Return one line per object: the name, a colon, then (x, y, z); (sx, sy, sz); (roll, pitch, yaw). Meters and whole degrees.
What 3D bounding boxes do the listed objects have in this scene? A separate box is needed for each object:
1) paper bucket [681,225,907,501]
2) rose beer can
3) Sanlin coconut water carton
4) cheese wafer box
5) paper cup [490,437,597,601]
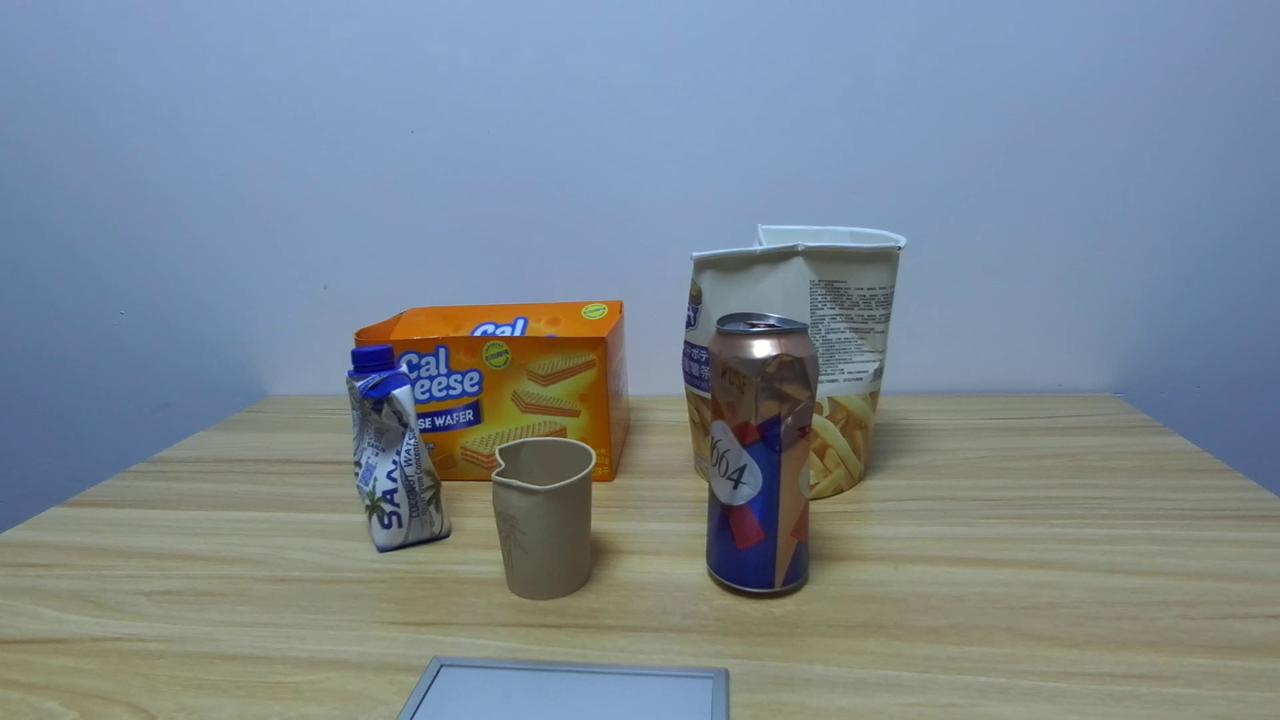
paper bucket: (0.115, -0.006, 0.595); (0.169, 0.202, 0.162); (-1, 15, -4)
rose beer can: (0.075, 0.058, 0.434); (0.065, 0.167, 0.075); (-2, 13, -4)
Sanlin coconut water carton: (-0.179, 0.065, 0.503); (0.057, 0.145, 0.068); (-16, 26, -19)
cheese wafer box: (-0.130, 0.025, 0.654); (0.230, 0.132, 0.152); (0, 17, 6)
paper cup: (-0.061, 0.101, 0.452); (0.073, 0.081, 0.069); (4, 16, 24)
